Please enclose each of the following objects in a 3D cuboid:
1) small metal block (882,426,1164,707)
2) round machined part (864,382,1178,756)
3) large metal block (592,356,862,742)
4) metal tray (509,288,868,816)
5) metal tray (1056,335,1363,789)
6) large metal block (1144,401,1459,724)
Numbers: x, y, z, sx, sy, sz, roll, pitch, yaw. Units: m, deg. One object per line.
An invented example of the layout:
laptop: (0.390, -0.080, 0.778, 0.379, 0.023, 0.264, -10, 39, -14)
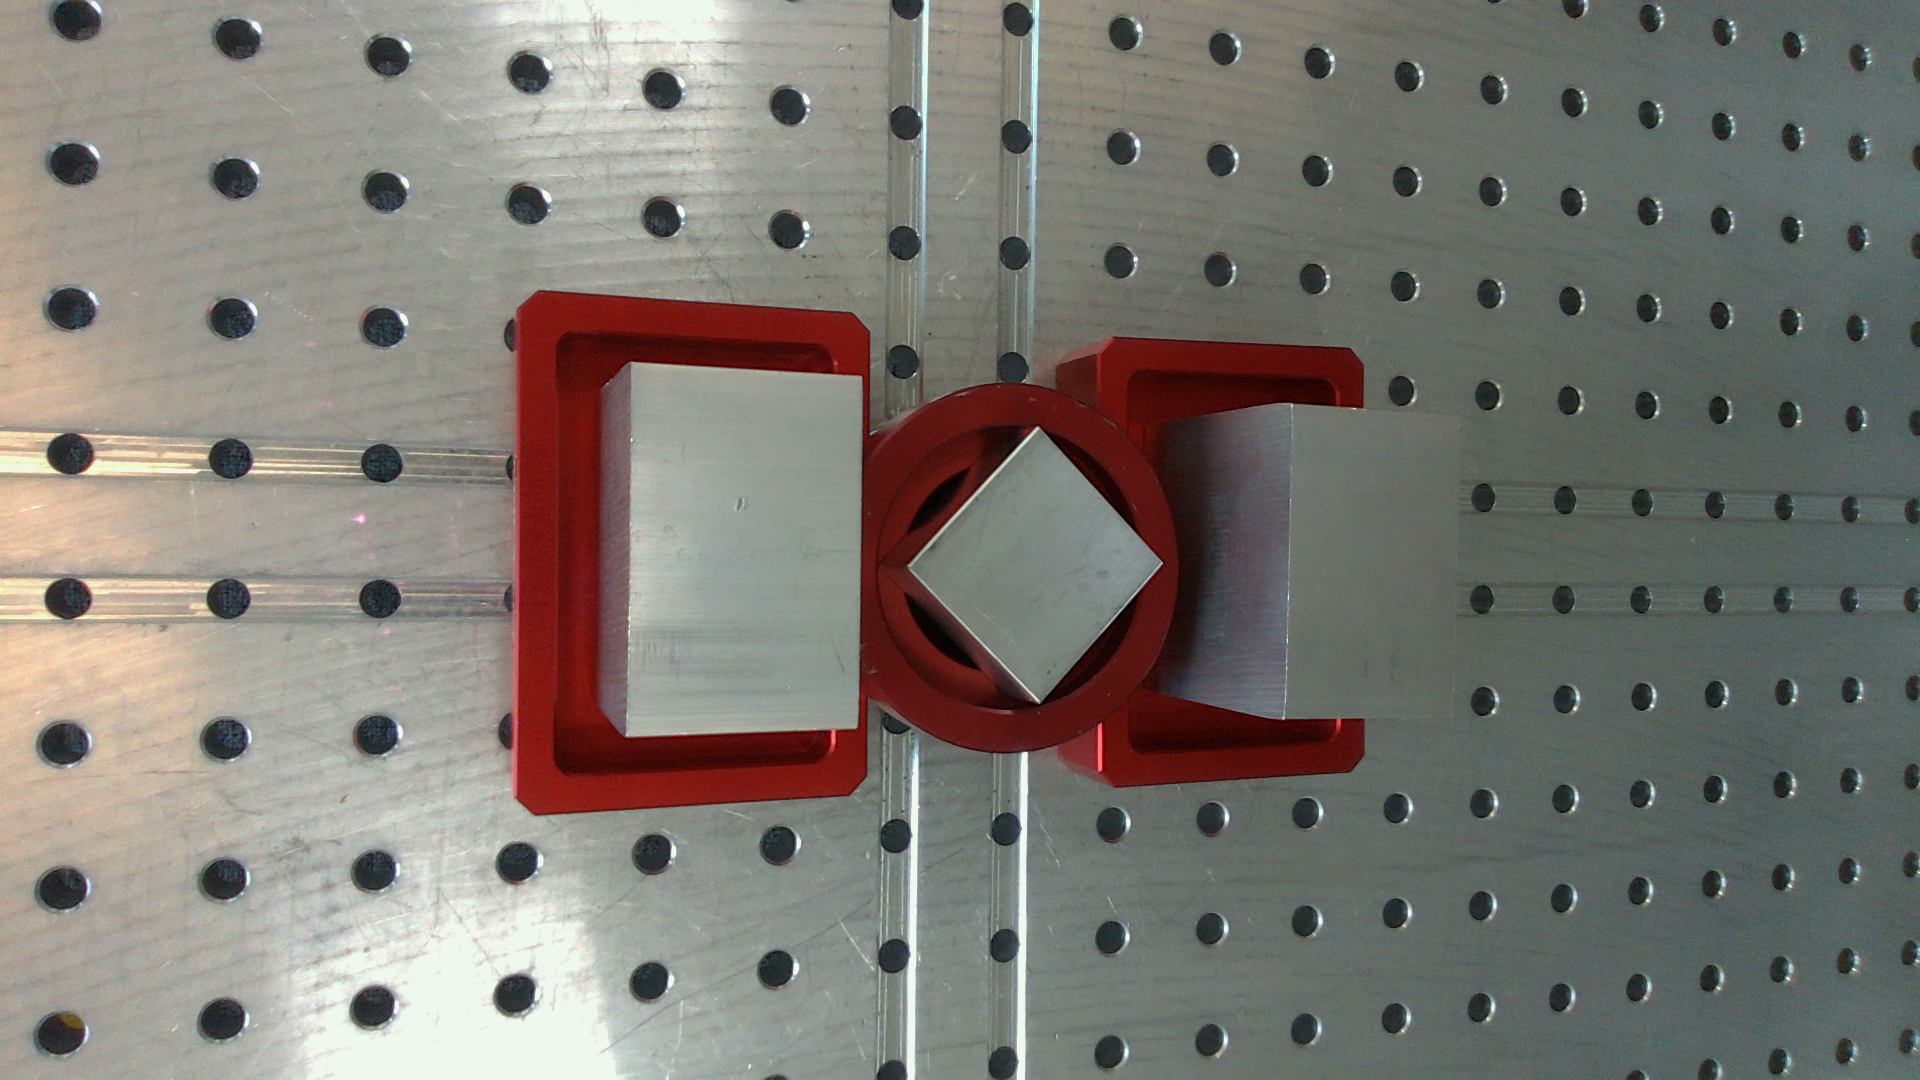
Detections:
small metal block: (0.016, 0.007, 0.358, 0.050, 0.025, 0.050, 46, 76, -14)
round machined part: (0.007, 0.008, 0.380, 0.098, 0.042, 0.098, 0, 90, -20)
large metal block: (-0.059, 0.002, 0.331, 0.050, 0.080, 0.080, 1, 90, -20)
metal tray: (-0.072, 0.003, 0.366, 0.090, 0.030, 0.130, 1, 90, -20)
metal tray: (0.076, 0.006, 0.420, 0.090, 0.030, 0.130, 0, 90, -20)
large metal block: (0.092, 0.006, 0.386, 0.050, 0.080, 0.080, 2, 90, -20)
